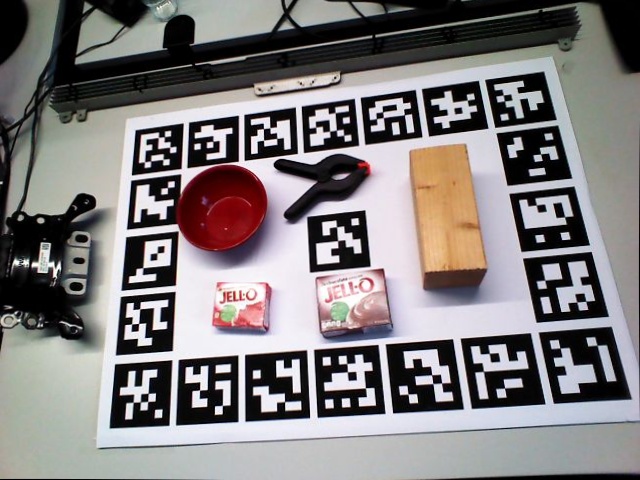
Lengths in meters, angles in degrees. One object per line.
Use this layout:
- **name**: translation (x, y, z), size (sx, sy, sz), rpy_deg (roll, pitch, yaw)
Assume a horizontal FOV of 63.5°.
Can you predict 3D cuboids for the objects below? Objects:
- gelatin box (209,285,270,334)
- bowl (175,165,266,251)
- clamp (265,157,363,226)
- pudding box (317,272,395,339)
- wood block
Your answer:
- **gelatin box**: translation (-0.130, 0.112, 0.835), size (0.090, 0.030, 0.073), rpy_deg (1, 72, 11)
- **bowl**: translation (-0.164, -0.046, 0.894), size (0.162, 0.055, 0.161), rpy_deg (-3, 72, 8)
- **clamp**: translation (-0.005, -0.099, 0.896), size (0.165, 0.036, 0.121), rpy_deg (-16, 68, 2)
- **pudding box**: translation (0.055, 0.103, 0.802), size (0.114, 0.038, 0.089), rpy_deg (-8, 73, 10)
- **wood block**: translation (0.202, -0.031, 0.796), size (0.090, 0.091, 0.205), rpy_deg (-3, 70, 8)
